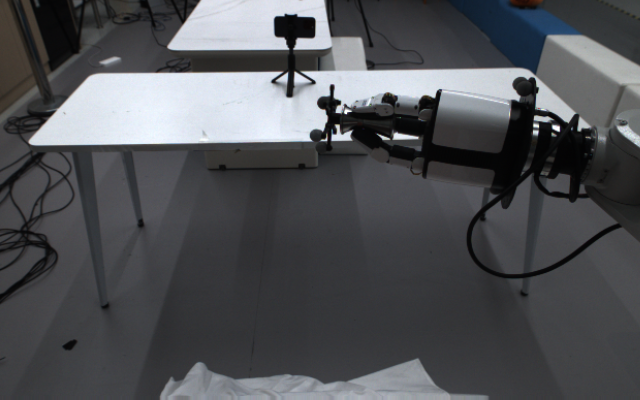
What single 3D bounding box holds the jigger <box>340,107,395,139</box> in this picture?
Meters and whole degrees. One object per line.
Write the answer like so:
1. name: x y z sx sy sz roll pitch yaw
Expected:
1. jigger: 0.070 -0.108 0.637 0.071 0.043 0.043 7 35 12
